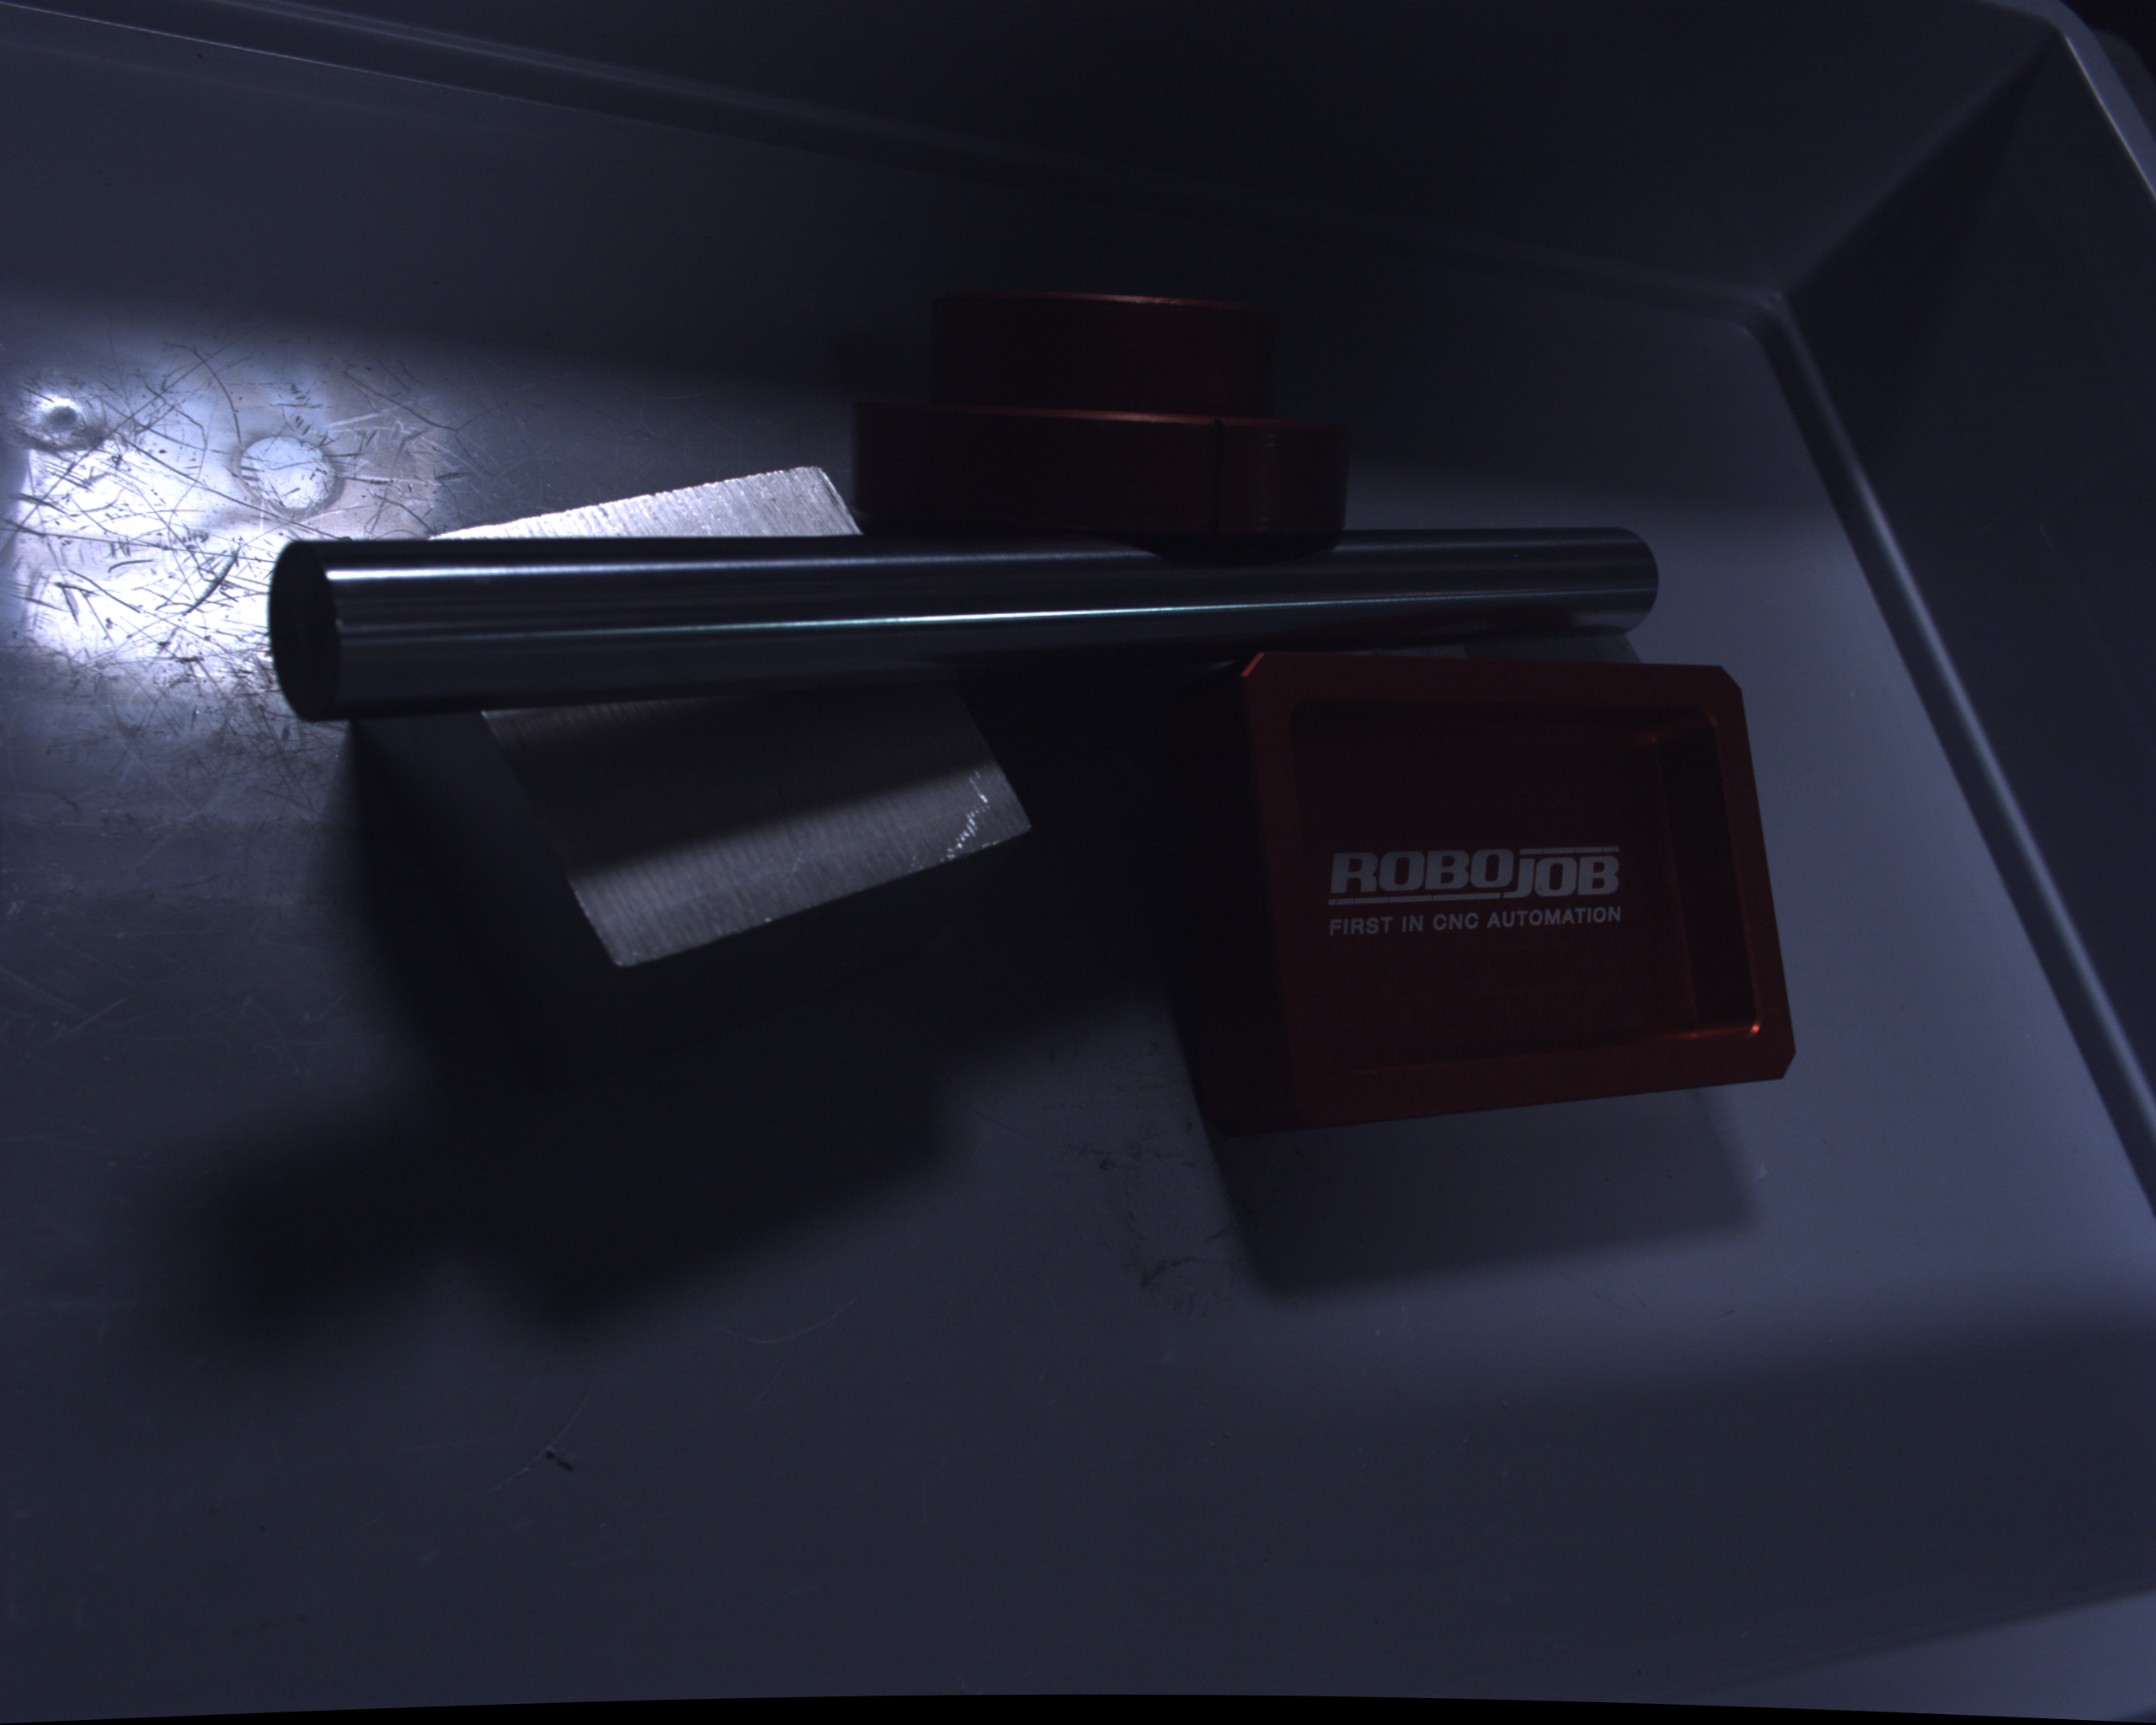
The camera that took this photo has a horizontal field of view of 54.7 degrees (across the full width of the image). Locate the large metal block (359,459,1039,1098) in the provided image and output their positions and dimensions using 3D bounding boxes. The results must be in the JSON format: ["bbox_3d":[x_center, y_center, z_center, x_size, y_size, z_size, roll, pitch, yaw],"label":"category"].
[{"bbox_3d":[-0.068,-0.017,0.361,0.081,0.050,0.080,-20,72,-36],"label":"large metal block"}]

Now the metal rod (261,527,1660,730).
[{"bbox_3d":[0.008,-0.048,0.381,0.302,0.025,0.025,-8,66,-40],"label":"metal rod"}]

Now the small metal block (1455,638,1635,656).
[{"bbox_3d":[0.101,-0.048,0.489,0.050,0.025,0.050,-12,68,-34],"label":"small metal block"}]

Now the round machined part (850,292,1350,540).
[{"bbox_3d":[0.005,-0.089,0.413,0.099,0.098,0.042,-5,105,-31],"label":"round machined part"}]

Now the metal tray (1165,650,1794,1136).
[{"bbox_3d":[0.085,0.005,0.427,0.131,0.030,0.089,-1,82,-30],"label":"metal tray"}]
